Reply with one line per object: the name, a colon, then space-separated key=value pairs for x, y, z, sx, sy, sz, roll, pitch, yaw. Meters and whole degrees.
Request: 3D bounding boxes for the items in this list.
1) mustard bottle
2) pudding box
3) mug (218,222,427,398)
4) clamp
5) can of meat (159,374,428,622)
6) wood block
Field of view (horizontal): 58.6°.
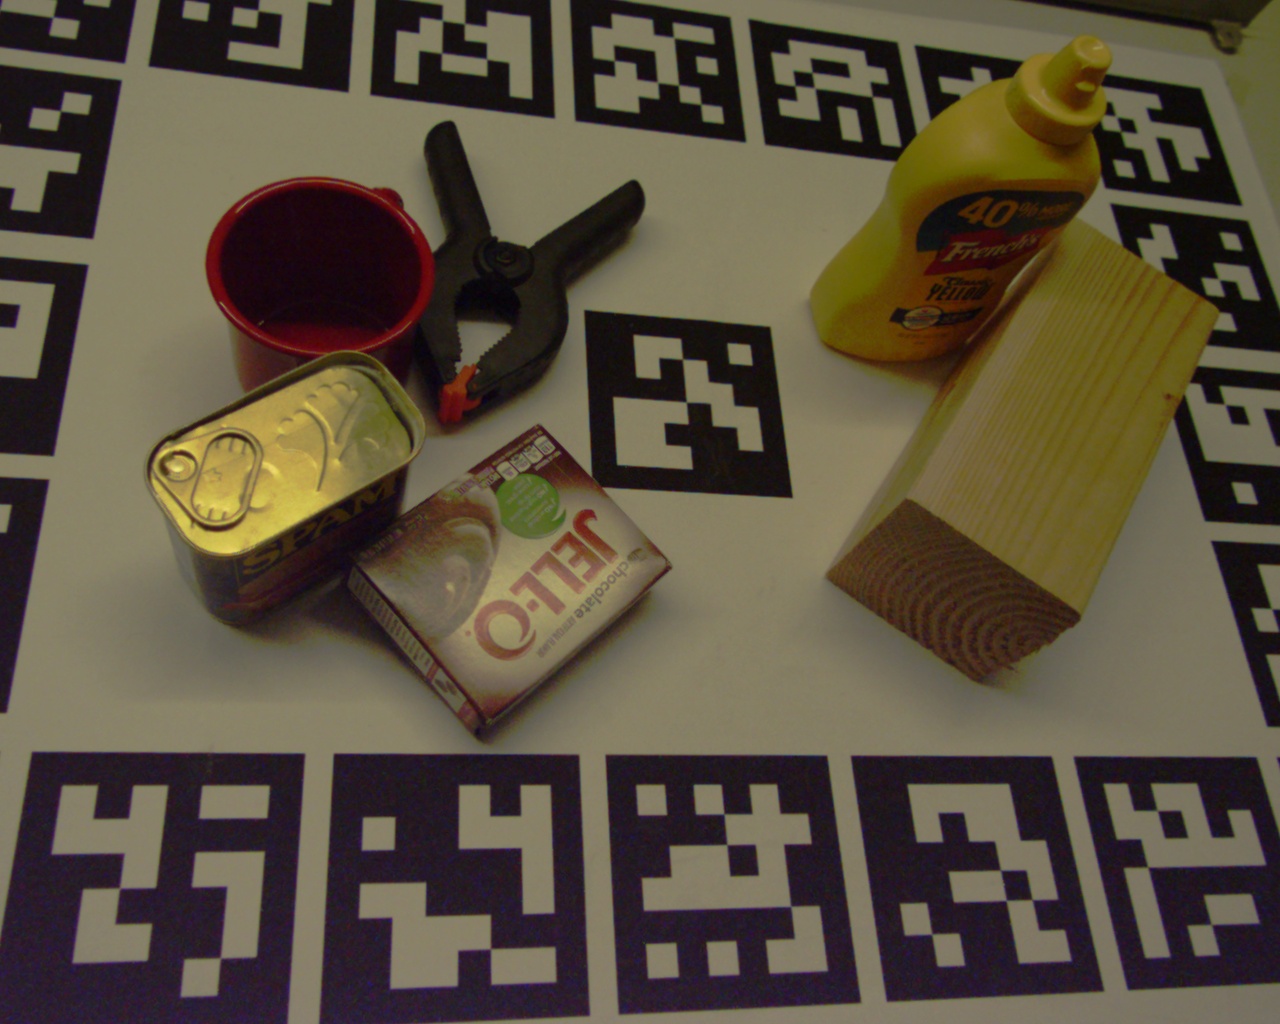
mustard bottle: x=0.153 y=-0.146 z=0.576 sx=0.095 sy=0.192 sz=0.058 roll=-2 pitch=67 yaw=-16
pudding box: x=-0.057 y=0.032 z=0.527 sx=0.113 sy=0.039 sz=0.090 roll=-38 pitch=80 yaw=-28
mug: x=-0.150 y=-0.089 z=0.562 sx=0.093 sy=0.082 sz=0.117 roll=23 pitch=64 yaw=-4
clamp: x=-0.074 y=-0.120 z=0.601 sx=0.121 sy=0.037 sz=0.165 roll=20 pitch=64 yaw=-6
can of meat: x=-0.147 y=-0.003 z=0.490 sx=0.101 sy=0.084 sz=0.058 roll=-28 pitch=77 yaw=-24
wood block: x=0.186 y=-0.027 z=0.592 sx=0.090 sy=0.091 sz=0.205 roll=35 pitch=60 yaw=5
